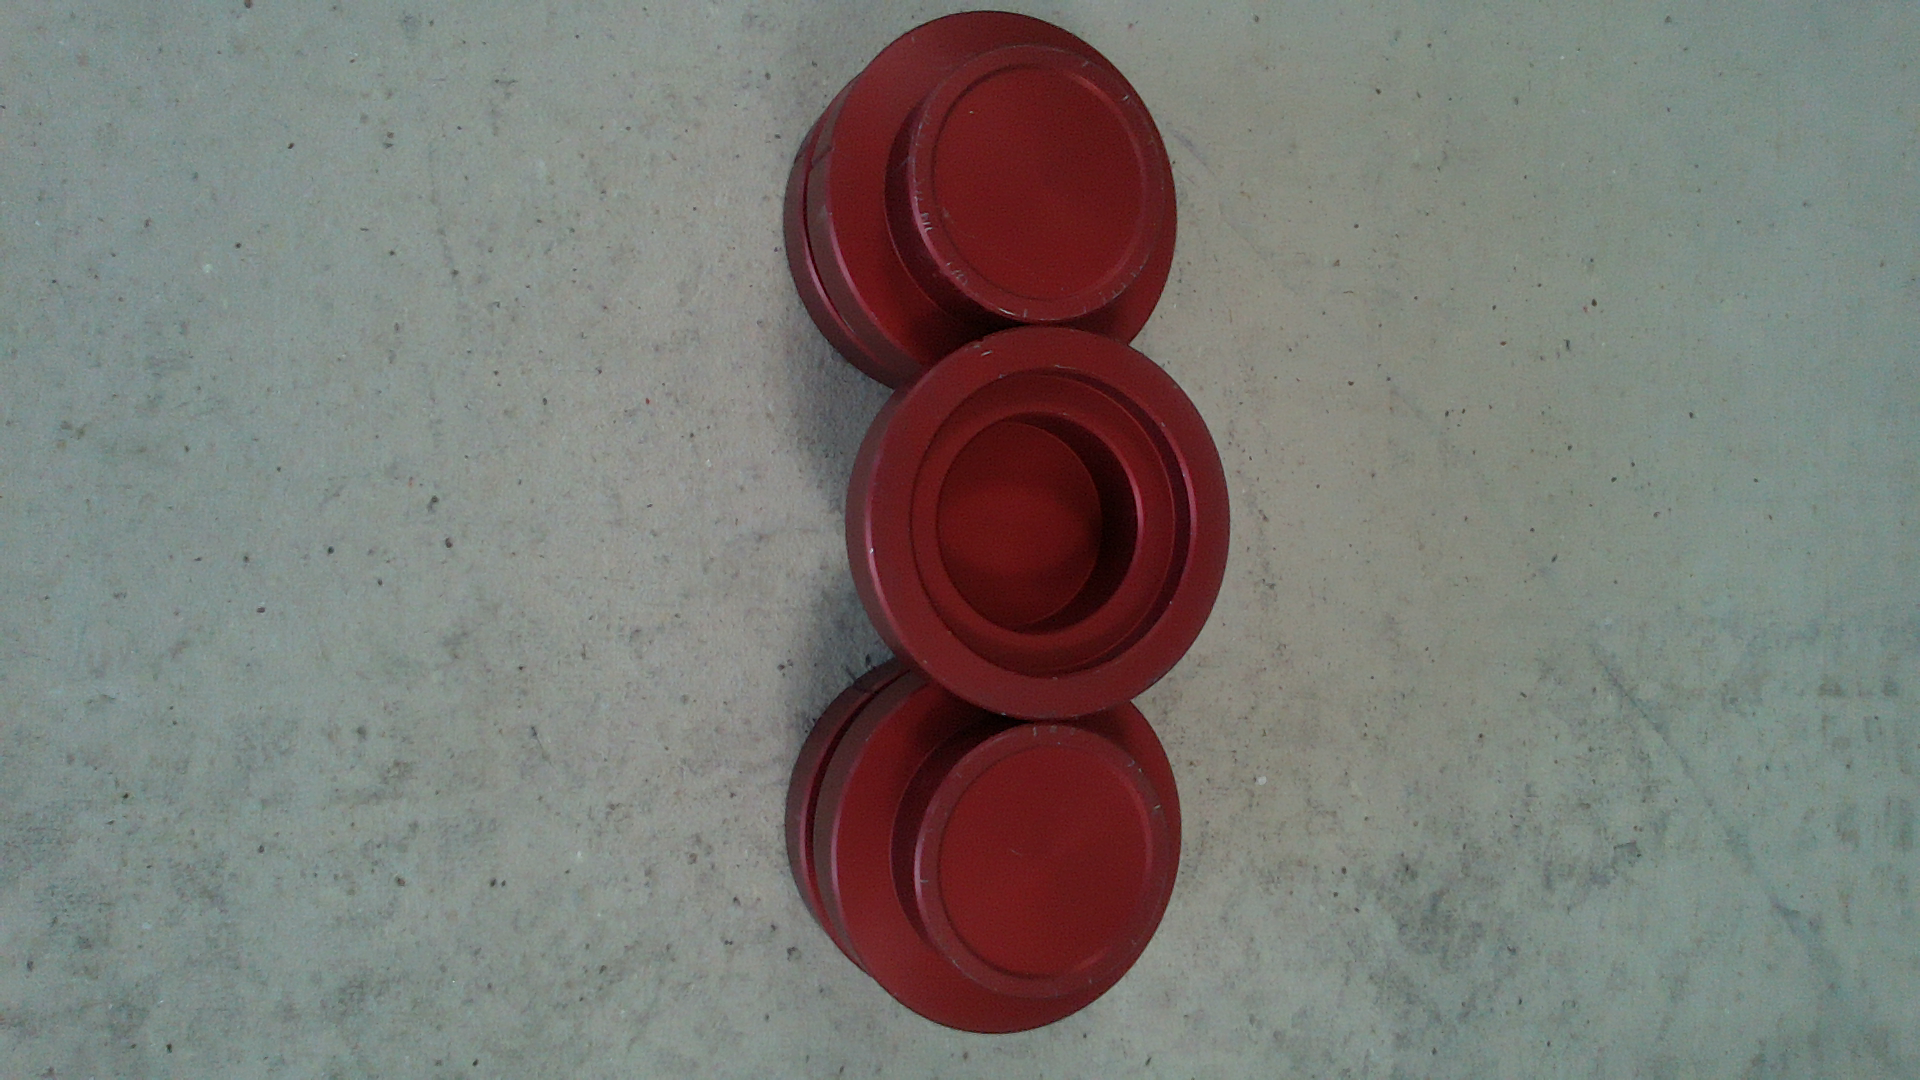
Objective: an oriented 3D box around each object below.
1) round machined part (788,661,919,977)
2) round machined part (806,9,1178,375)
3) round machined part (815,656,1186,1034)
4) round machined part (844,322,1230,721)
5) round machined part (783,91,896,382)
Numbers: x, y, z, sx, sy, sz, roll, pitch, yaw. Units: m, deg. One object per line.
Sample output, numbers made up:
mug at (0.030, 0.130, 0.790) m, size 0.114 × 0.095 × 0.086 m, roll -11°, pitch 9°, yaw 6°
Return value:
round machined part at (0.003, 0.081, 0.387) m, size 0.098 × 0.042 × 0.098 m, roll 0°, pitch 89°, yaw -19°
round machined part at (0.013, -0.088, 0.354) m, size 0.098 × 0.042 × 0.098 m, roll 0°, pitch 91°, yaw -19°
round machined part at (0.015, 0.079, 0.355) m, size 0.098 × 0.042 × 0.098 m, roll 0°, pitch 91°, yaw -19°
round machined part at (0.017, -0.004, 0.357) m, size 0.098 × 0.042 × 0.098 m, roll 0°, pitch 90°, yaw -20°
round machined part at (0.003, -0.090, 0.385) m, size 0.098 × 0.042 × 0.098 m, roll 0°, pitch 91°, yaw -18°
